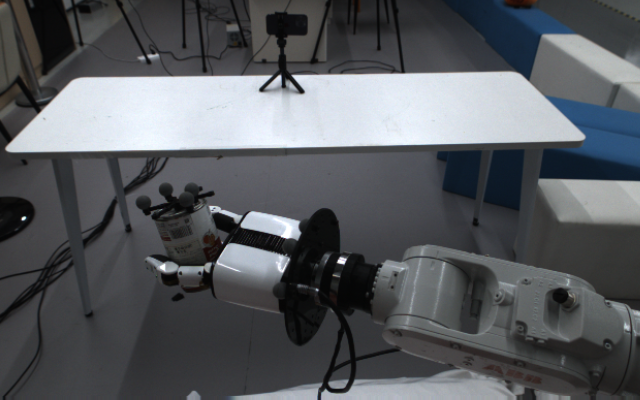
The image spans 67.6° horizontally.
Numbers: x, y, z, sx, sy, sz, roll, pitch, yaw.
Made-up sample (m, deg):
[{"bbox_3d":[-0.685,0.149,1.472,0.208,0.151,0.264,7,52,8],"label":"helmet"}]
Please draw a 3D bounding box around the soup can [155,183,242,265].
[{"bbox_3d":[-0.155,0.055,0.598,0.067,0.101,0.067,-13,20,5],"label":"soup can"}]
